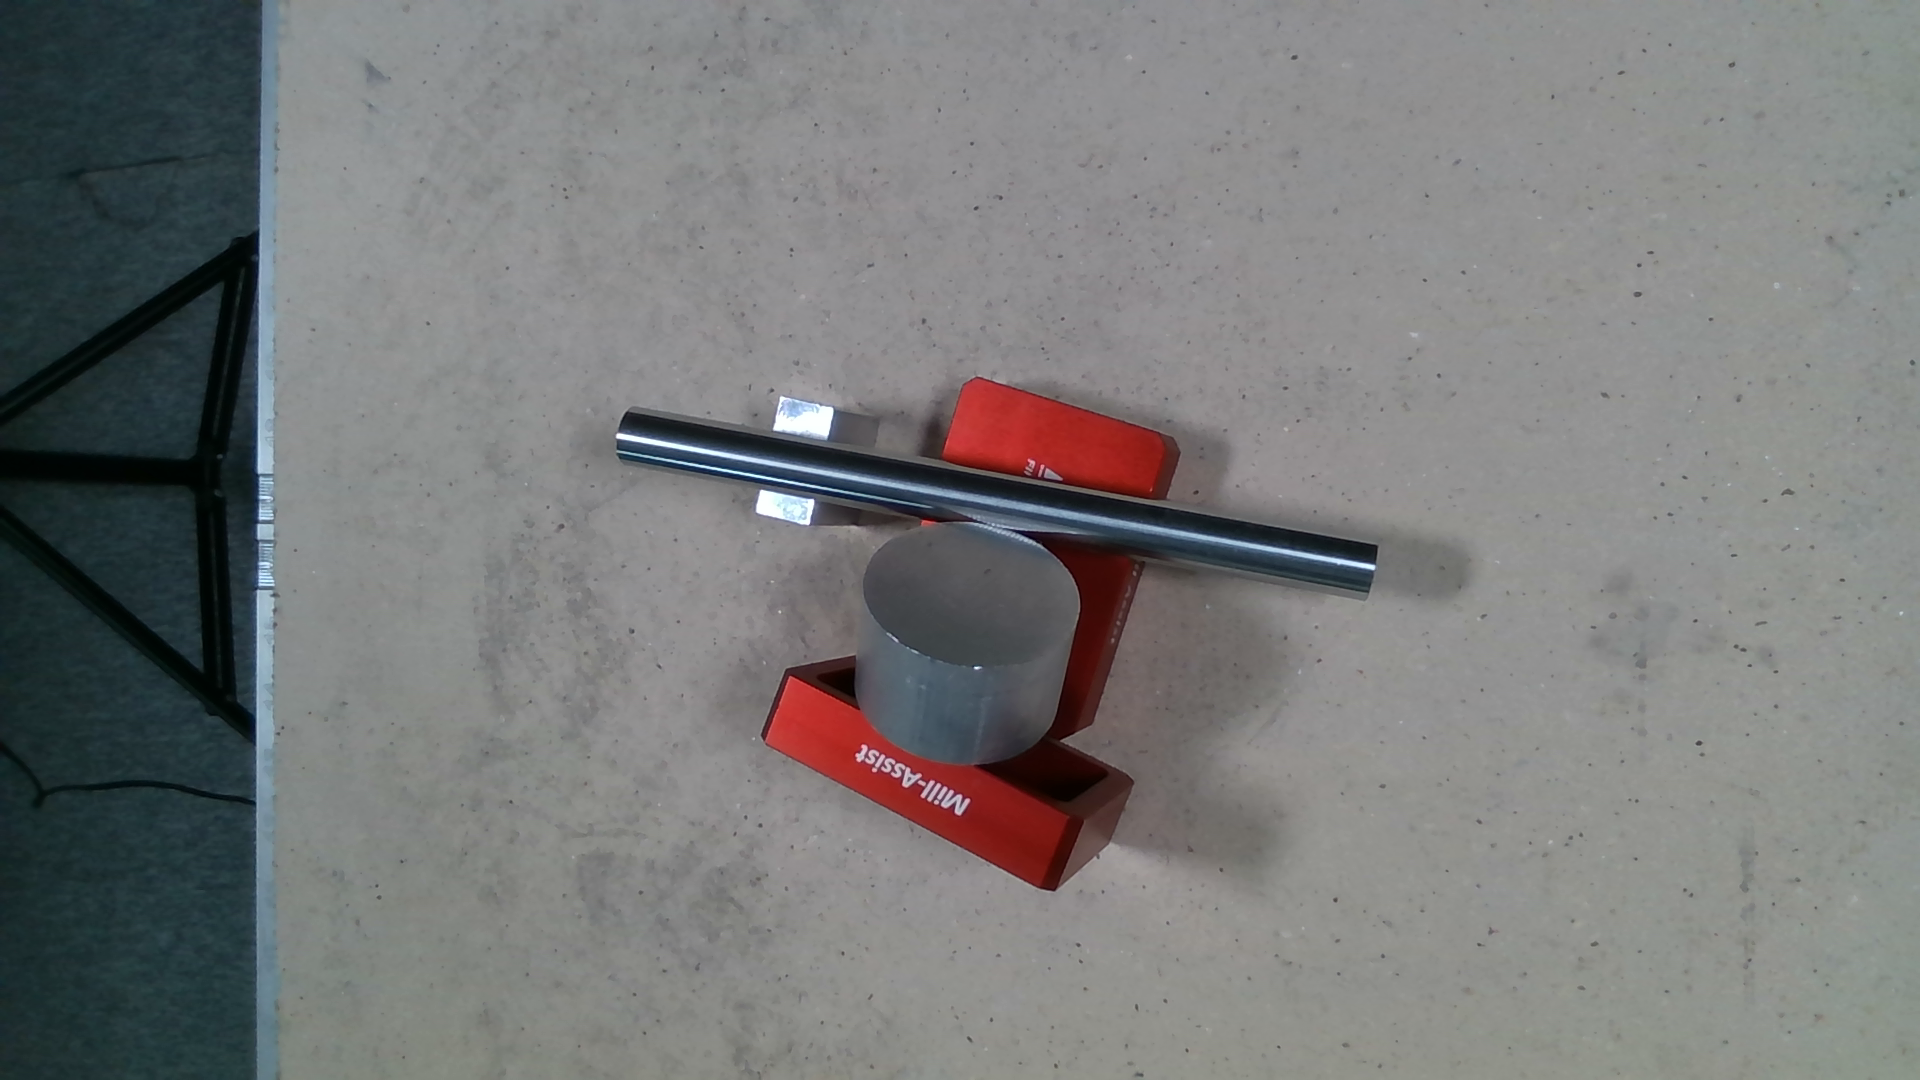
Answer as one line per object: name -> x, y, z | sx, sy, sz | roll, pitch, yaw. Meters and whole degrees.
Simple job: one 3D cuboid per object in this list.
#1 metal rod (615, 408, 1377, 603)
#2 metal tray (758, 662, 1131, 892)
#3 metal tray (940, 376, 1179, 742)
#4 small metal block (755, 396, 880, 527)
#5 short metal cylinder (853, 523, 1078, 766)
metal rod -> 0.008, -0.016, 0.541 | 0.300, 0.025, 0.025 | 11, 94, 11
metal tray -> -0.004, 0.089, 0.553 | 0.130, 0.090, 0.030 | 24, 98, 19
metal tray -> 0.028, 0.007, 0.572 | 0.090, 0.030, 0.130 | 19, 97, 19
small metal block -> -0.061, -0.033, 0.594 | 0.025, 0.050, 0.050 | 14, 95, 20
short metal cylinder -> 0.001, 0.038, 0.517 | 0.080, 0.080, 0.050 | 24, 131, 18
